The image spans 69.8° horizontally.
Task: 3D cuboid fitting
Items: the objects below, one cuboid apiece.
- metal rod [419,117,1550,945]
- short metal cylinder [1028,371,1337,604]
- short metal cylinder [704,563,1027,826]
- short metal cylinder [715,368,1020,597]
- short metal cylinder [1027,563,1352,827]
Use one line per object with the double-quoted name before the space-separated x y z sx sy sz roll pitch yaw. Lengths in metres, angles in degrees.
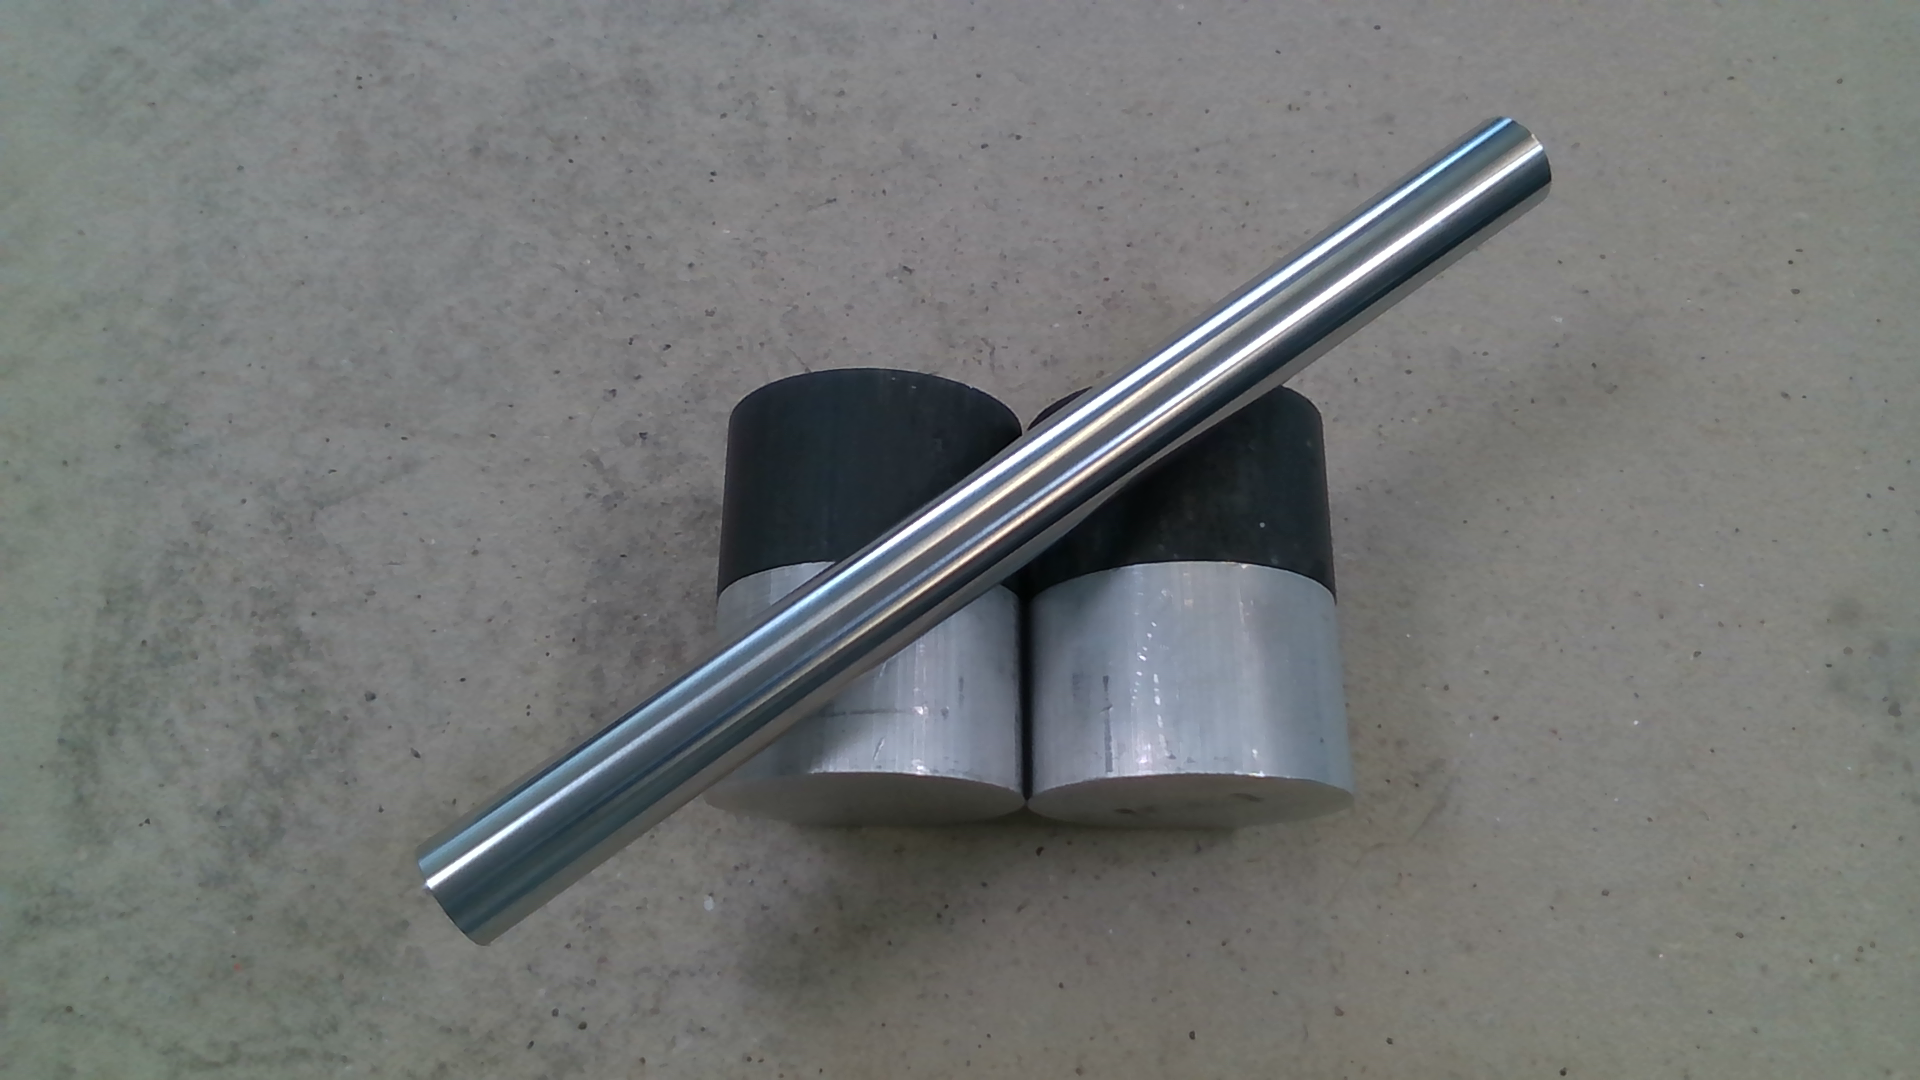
"metal rod" 0.016 -0.010 0.314 0.300 0.025 0.025 -35 74 -11
"short metal cylinder" 0.058 -0.004 0.368 0.080 0.080 0.050 1 70 0
"short metal cylinder" -0.023 0.042 0.352 0.080 0.080 0.050 1 70 0
"short metal cylinder" -0.023 -0.005 0.369 0.080 0.080 0.050 1 70 0
"short metal cylinder" 0.057 0.043 0.352 0.080 0.080 0.050 1 70 0
